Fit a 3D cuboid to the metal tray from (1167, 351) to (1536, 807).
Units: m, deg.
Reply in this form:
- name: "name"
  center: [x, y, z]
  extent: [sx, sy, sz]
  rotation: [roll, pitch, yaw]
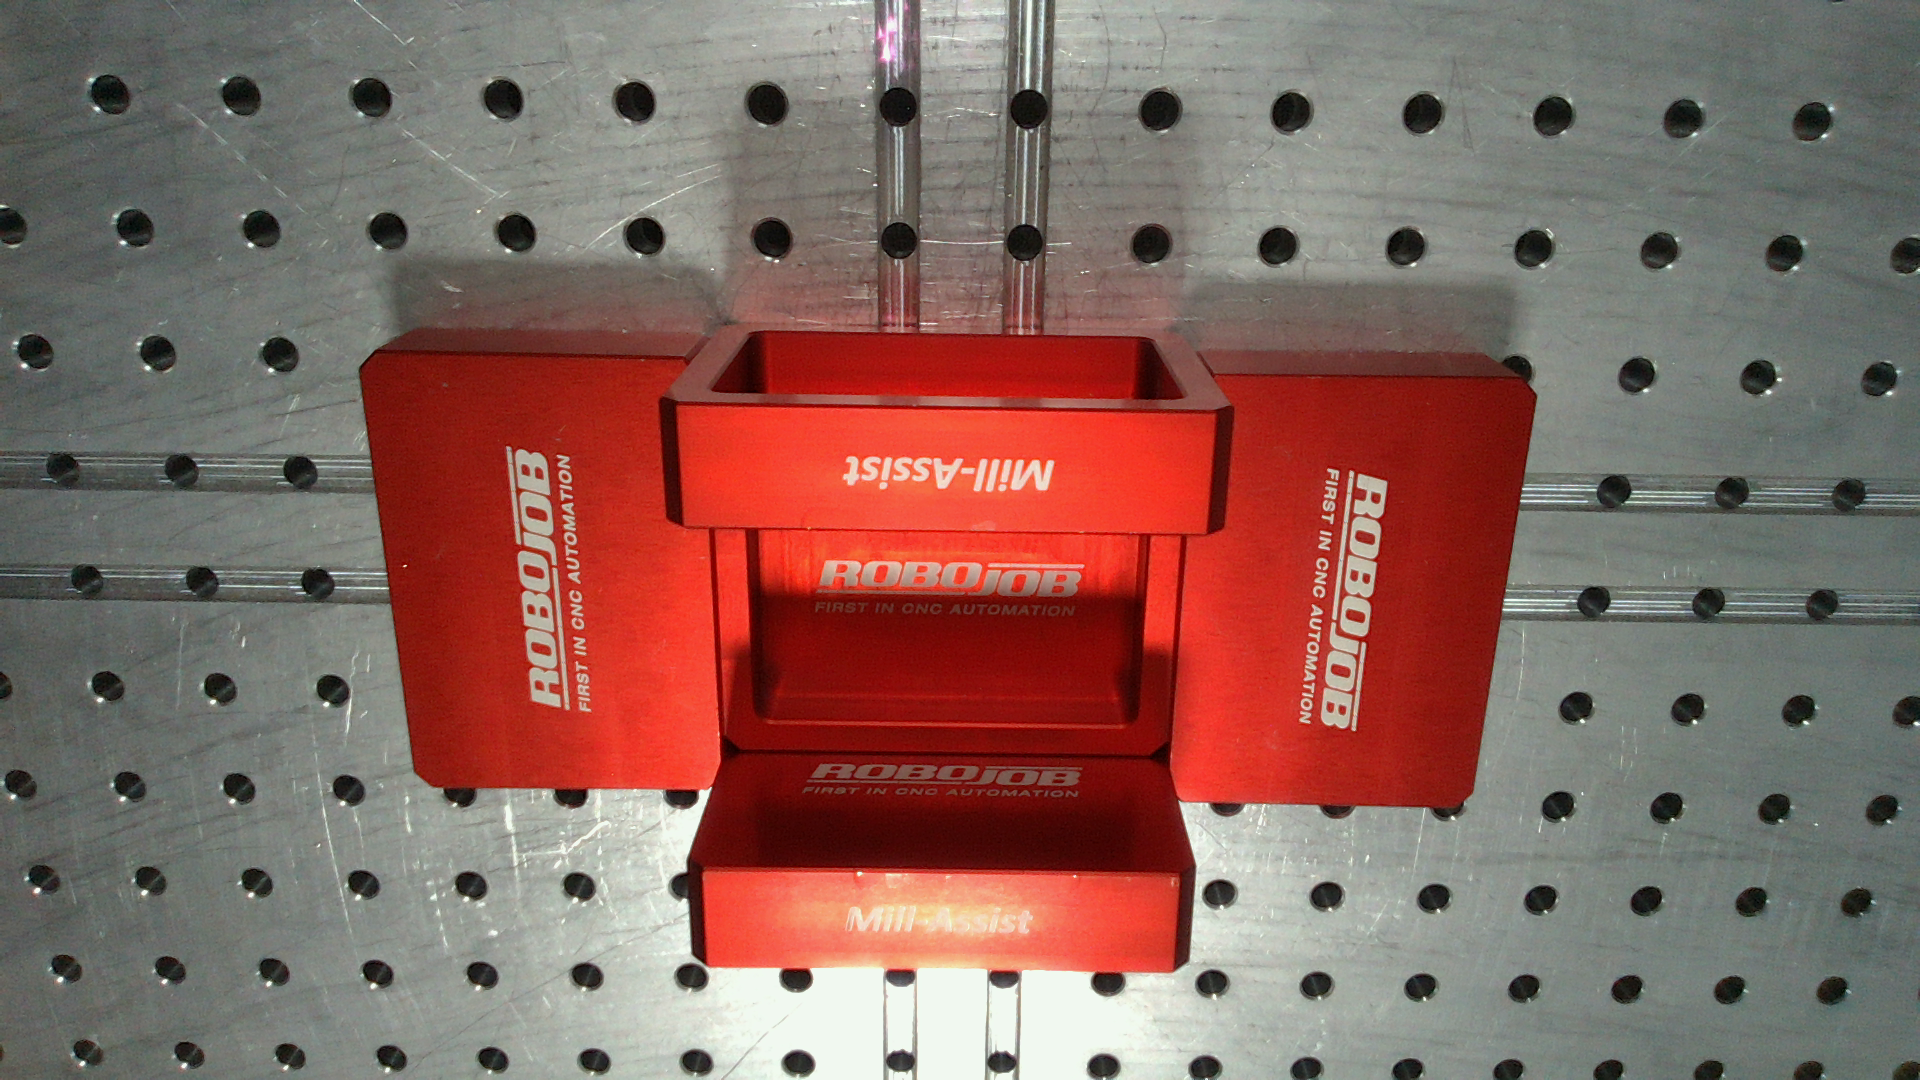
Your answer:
- name: "metal tray"
  center: [0.107, 0.013, 0.397]
  extent: [0.090, 0.030, 0.130]
  rotation: [0, 110, -1]

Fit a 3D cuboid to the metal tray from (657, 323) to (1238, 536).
- name: "metal tray"
  center: [-0.003, -0.031, 0.350]
  extent: [0.130, 0.090, 0.030]
  rotation: [1, 110, 0]

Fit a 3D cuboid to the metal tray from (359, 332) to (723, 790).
- name: "metal tray"
  center: [-0.114, 0.007, 0.395]
  extent: [0.090, 0.030, 0.130]
  rotation: [1, 110, -1]

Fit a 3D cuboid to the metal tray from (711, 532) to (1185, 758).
- name: "metal tray"
  center: [-0.003, 0.016, 0.397]
  extent: [0.130, 0.030, 0.090]
  rotation: [1, 110, 0]

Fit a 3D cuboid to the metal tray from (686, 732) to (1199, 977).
- name: "metal tray"
  center: [-0.004, 0.083, 0.391]
  extent: [0.130, 0.090, 0.030]
  rotation: [1, 110, 0]
